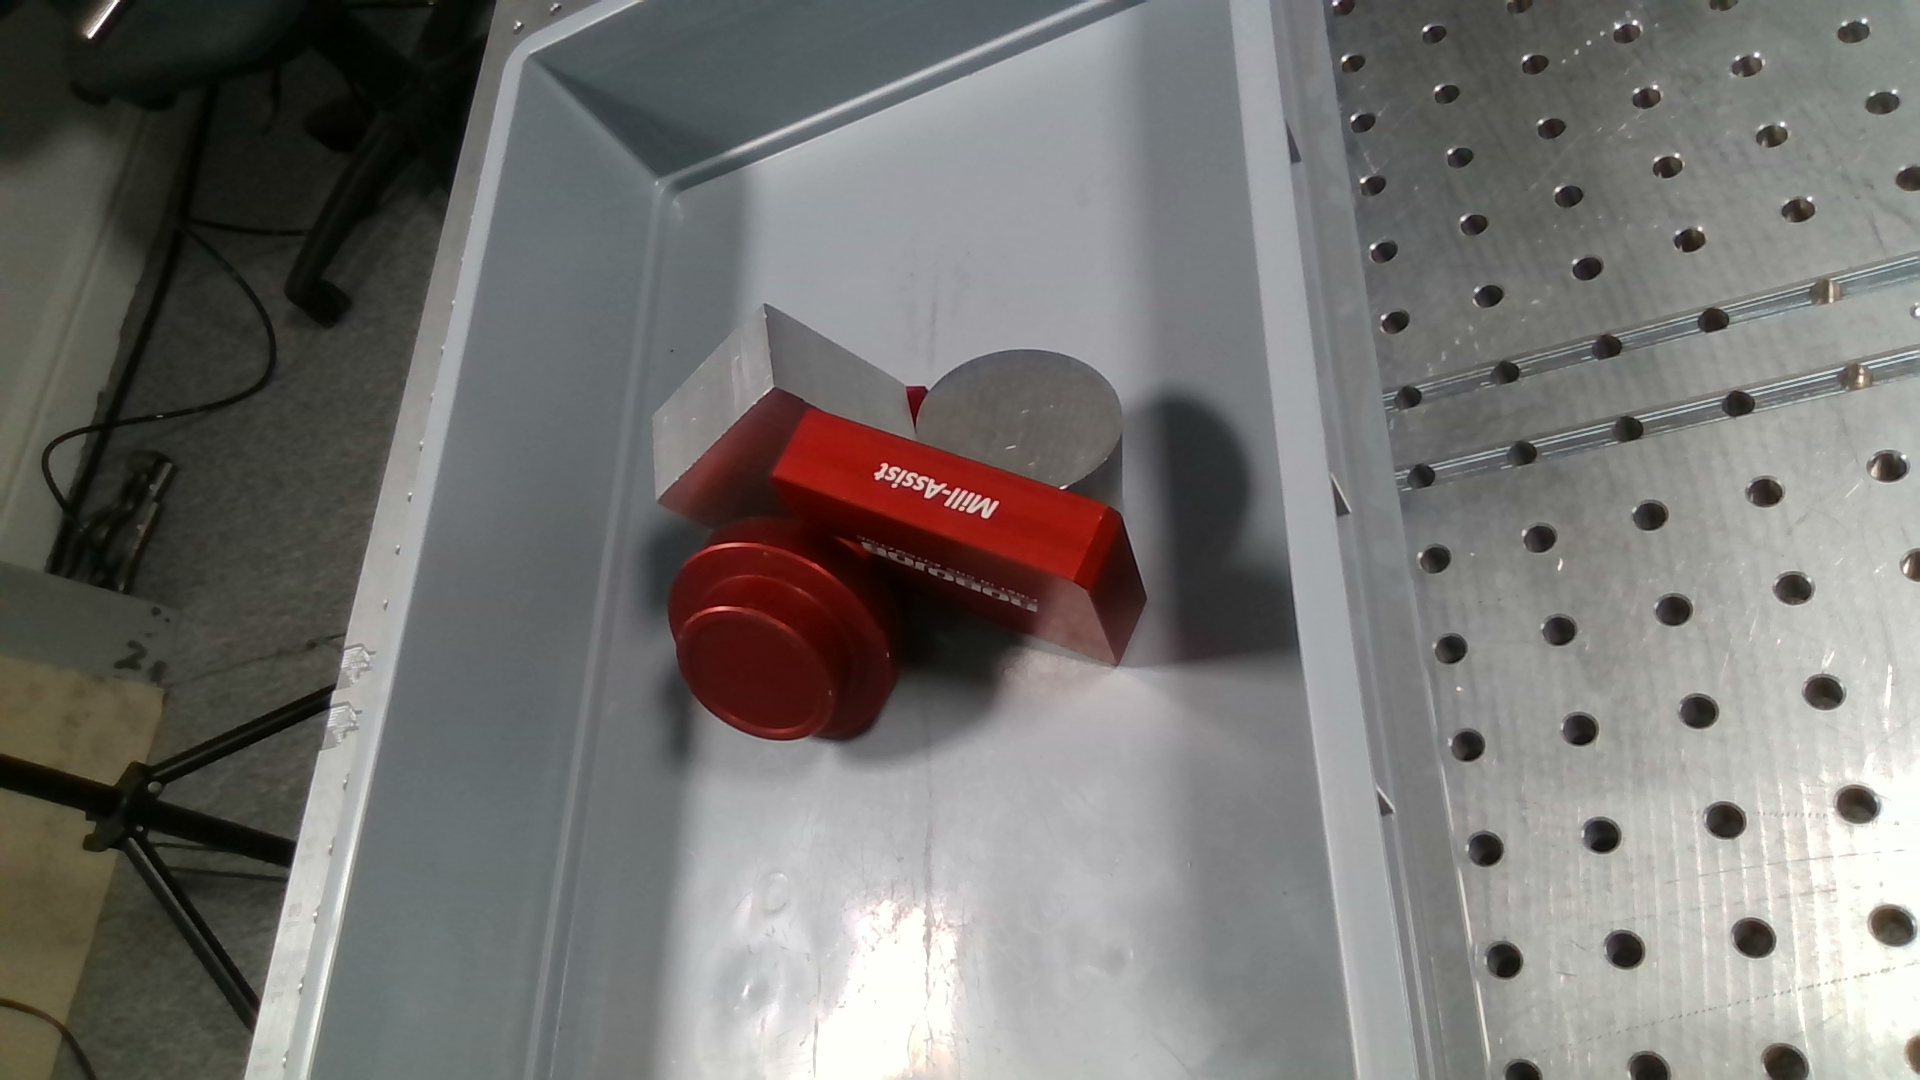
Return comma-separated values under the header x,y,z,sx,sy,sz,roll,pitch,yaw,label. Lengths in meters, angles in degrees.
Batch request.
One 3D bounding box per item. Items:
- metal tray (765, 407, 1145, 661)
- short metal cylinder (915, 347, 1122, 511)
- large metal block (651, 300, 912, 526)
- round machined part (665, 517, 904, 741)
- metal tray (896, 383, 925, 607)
x,y,z,sx,sy,sz,roll,pitch,yaw,label
0.000,-0.001,0.522,0.130,0.090,0.030,19,73,21,metal tray
0.025,-0.031,0.550,0.080,0.050,0.080,-3,50,4,short metal cylinder
-0.074,-0.042,0.587,0.080,0.080,0.050,-40,43,28,large metal block
-0.075,0.042,0.556,0.098,0.098,0.042,-9,31,28,round machined part
-0.060,-0.007,0.620,0.090,0.030,0.130,3,67,33,metal tray
